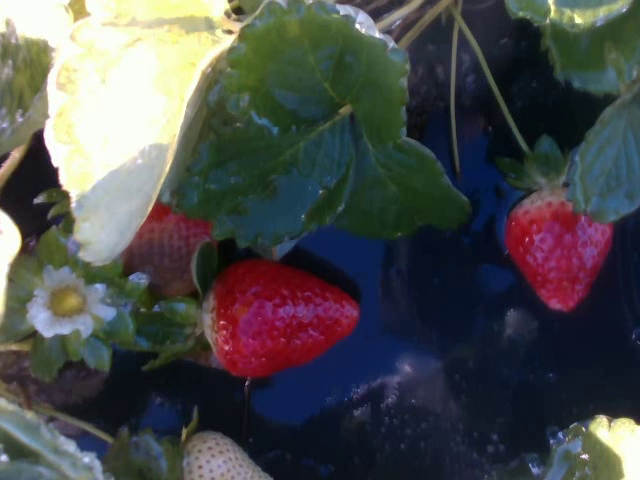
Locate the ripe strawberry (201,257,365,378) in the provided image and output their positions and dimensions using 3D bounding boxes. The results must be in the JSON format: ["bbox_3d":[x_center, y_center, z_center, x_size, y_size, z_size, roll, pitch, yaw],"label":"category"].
[{"bbox_3d":[-0.010,0.031,0.212,0.056,0.044,0.040,1,22,-13],"label":"ripe strawberry"}]

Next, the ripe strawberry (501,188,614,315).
[{"bbox_3d":[0.081,0.004,0.206,0.039,0.047,0.040,-9,13,-9],"label":"ripe strawberry"}]
